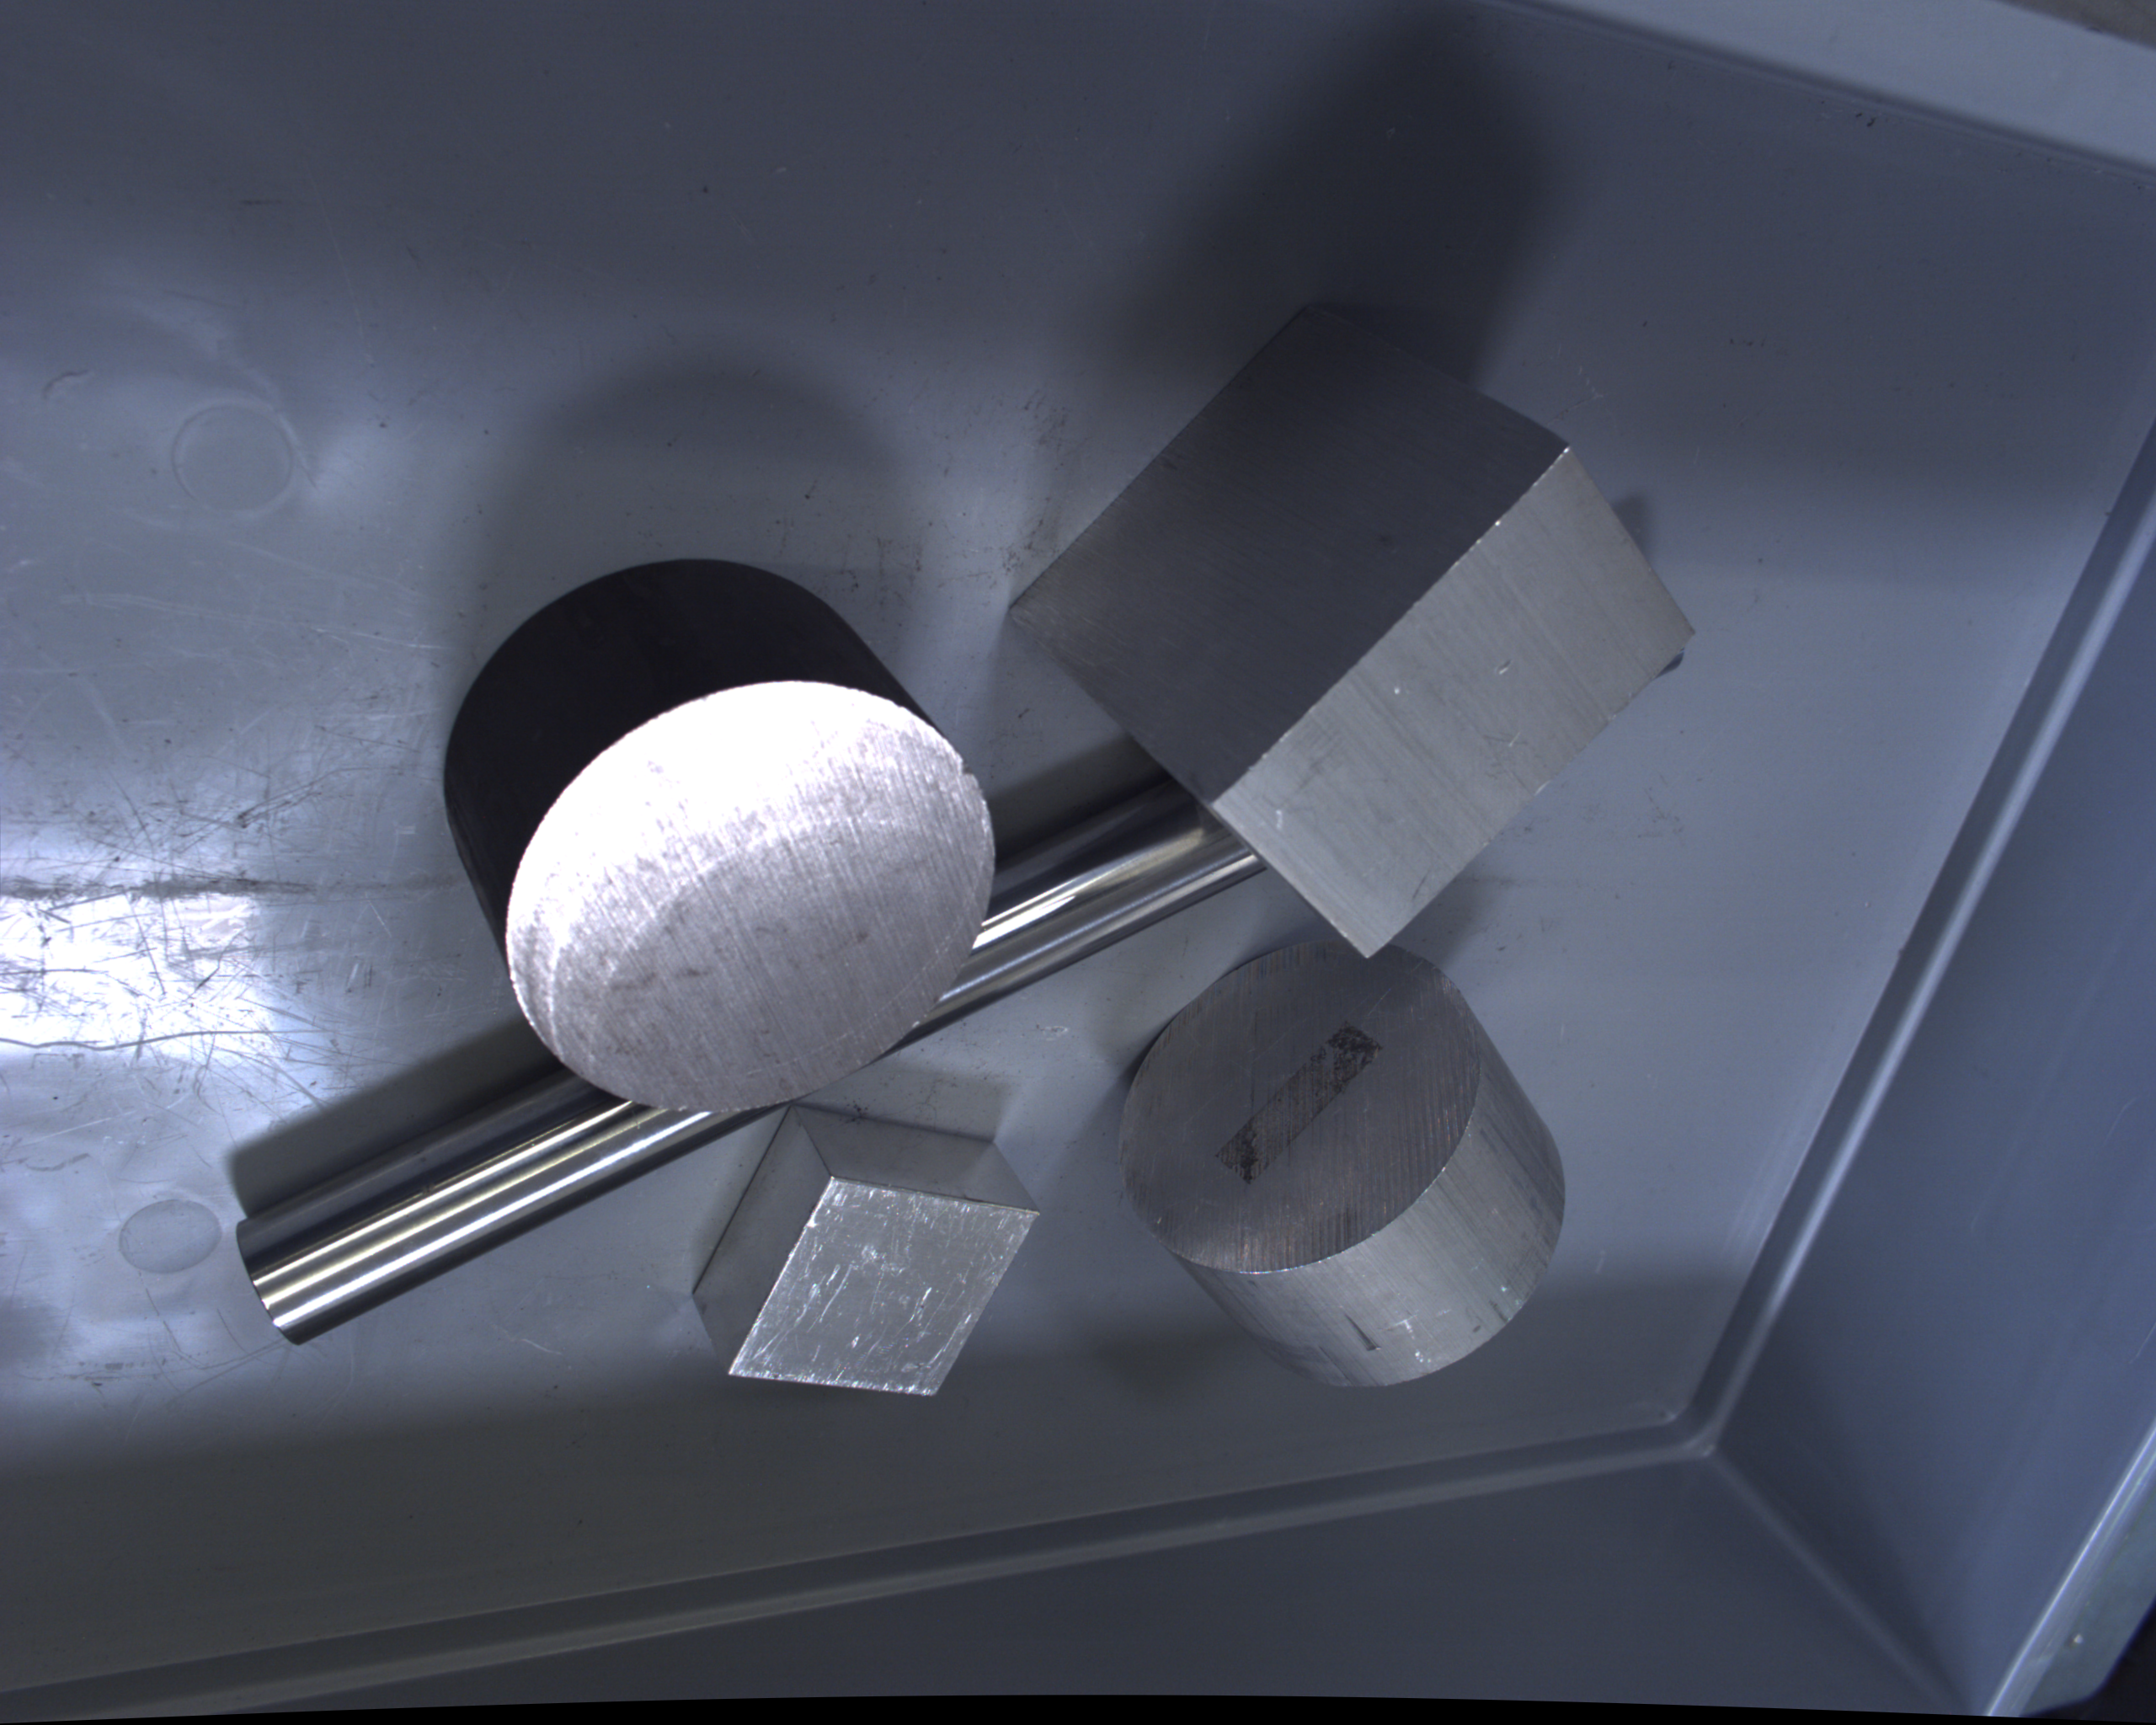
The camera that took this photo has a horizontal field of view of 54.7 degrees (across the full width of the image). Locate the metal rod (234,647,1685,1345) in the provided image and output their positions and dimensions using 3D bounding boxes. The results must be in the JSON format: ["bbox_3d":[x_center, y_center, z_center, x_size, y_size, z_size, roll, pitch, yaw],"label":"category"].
[{"bbox_3d":[-0.013,0.012,0.407,0.302,0.025,0.025,-26,128,-13],"label":"metal rod"}]

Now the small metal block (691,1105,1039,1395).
[{"bbox_3d":[-0.044,0.081,0.433,0.050,0.025,0.050,16,110,-35],"label":"small metal block"}]

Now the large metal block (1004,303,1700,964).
[{"bbox_3d":[0.046,-0.043,0.370,0.080,0.080,0.050,-45,129,3],"label":"large metal block"}]

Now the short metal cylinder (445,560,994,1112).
[{"bbox_3d":[-0.061,-0.005,0.354,0.081,0.050,0.079,-14,124,-21],"label":"short metal cylinder"}]

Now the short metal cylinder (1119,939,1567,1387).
[{"bbox_3d":[0.056,0.063,0.441,0.080,0.080,0.050,-40,130,-1],"label":"short metal cylinder"}]
